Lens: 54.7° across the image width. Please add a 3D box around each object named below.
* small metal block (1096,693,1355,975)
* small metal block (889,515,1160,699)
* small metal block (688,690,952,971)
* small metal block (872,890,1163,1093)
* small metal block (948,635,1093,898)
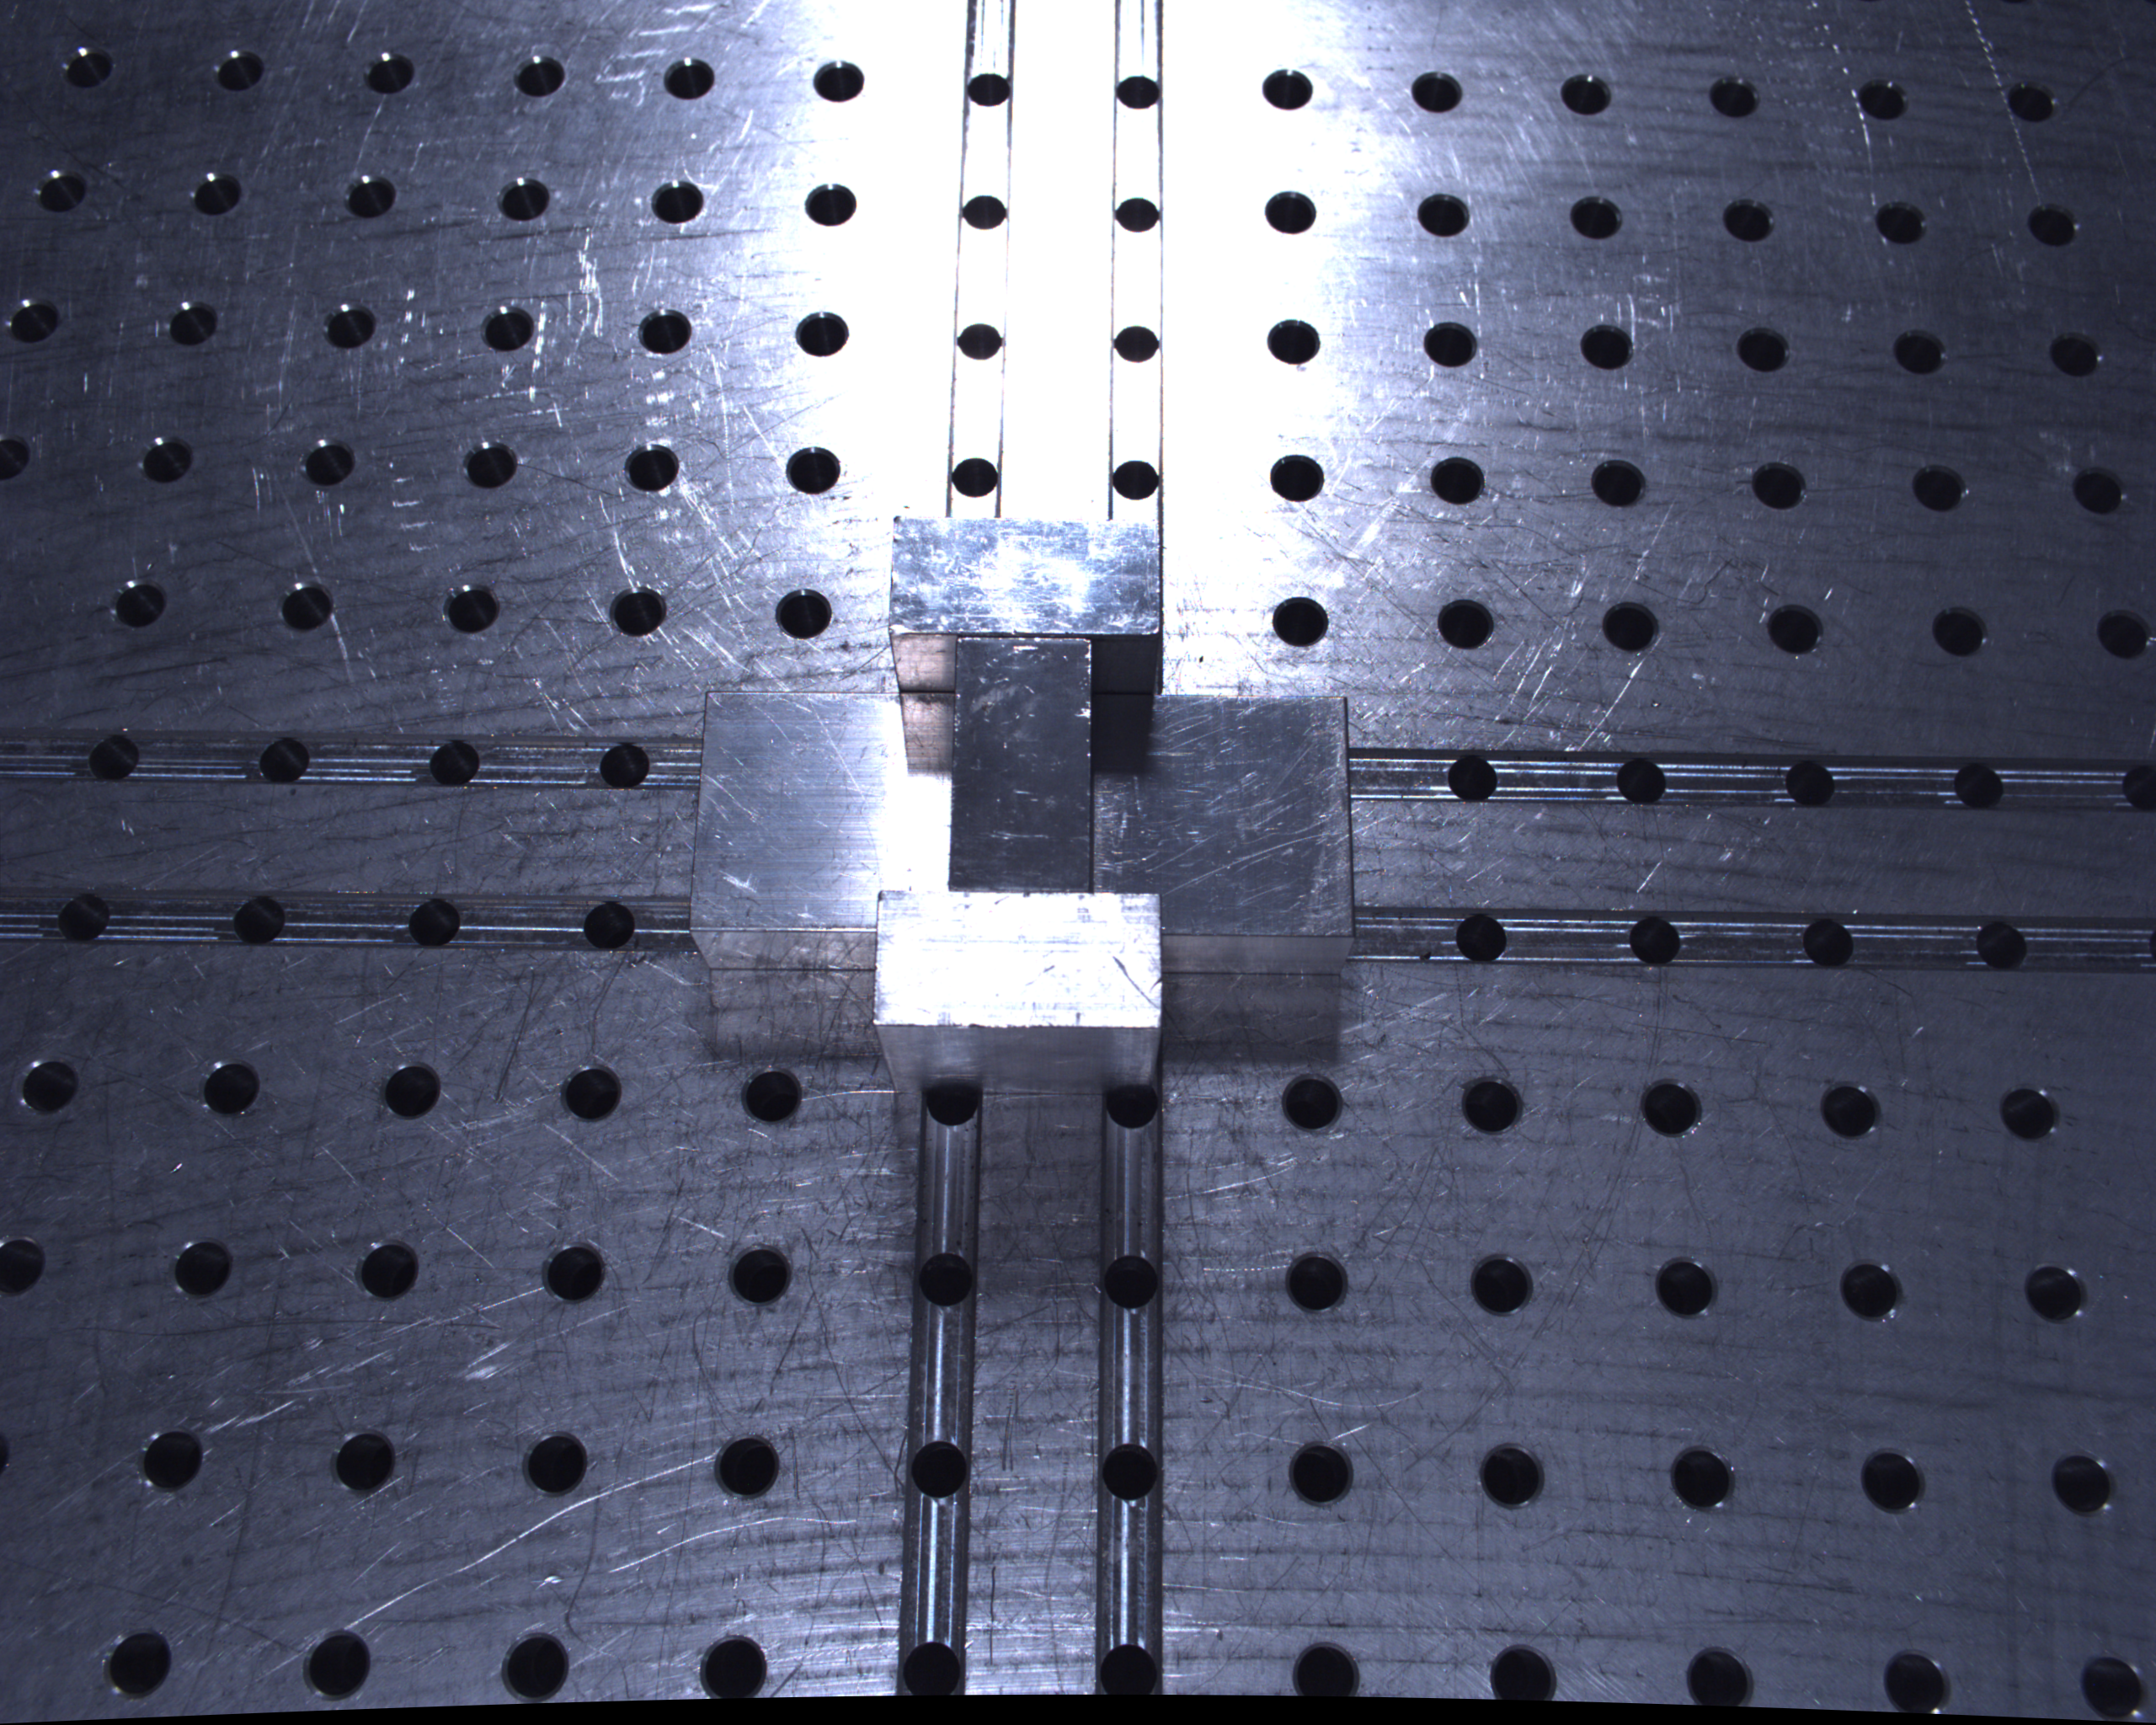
[{"bbox_3d":[0.028,-0.005,0.414,0.050,0.025,0.050,1,70,0],"label":"small metal block"},{"bbox_3d":[-0.010,-0.046,0.415,0.050,0.050,0.025,1,70,0],"label":"small metal block"},{"bbox_3d":[-0.048,-0.006,0.413,0.050,0.025,0.050,1,70,0],"label":"small metal block"},{"bbox_3d":[-0.010,0.025,0.389,0.050,0.050,0.025,1,70,0],"label":"small metal block"},{"bbox_3d":[-0.010,-0.010,0.401,0.025,0.050,0.050,1,70,0],"label":"small metal block"}]
